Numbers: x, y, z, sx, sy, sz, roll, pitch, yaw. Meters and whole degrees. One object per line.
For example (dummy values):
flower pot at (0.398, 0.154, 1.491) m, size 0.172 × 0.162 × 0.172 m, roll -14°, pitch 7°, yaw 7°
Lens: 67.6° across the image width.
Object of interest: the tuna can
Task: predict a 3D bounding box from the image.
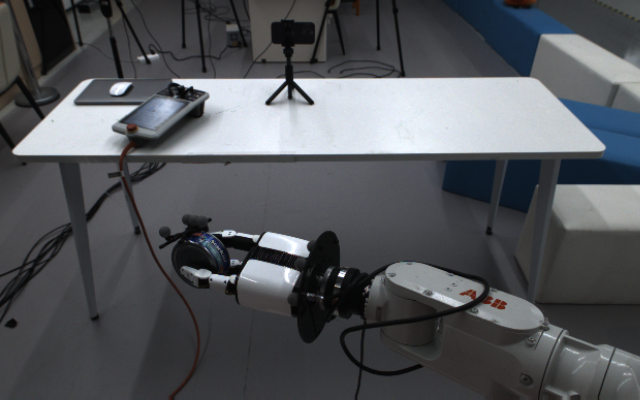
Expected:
tuna can at (-0.180, 0.092, 0.738) m, size 0.085 × 0.085 × 0.034 m, roll 14°, pitch 31°, yaw 17°
